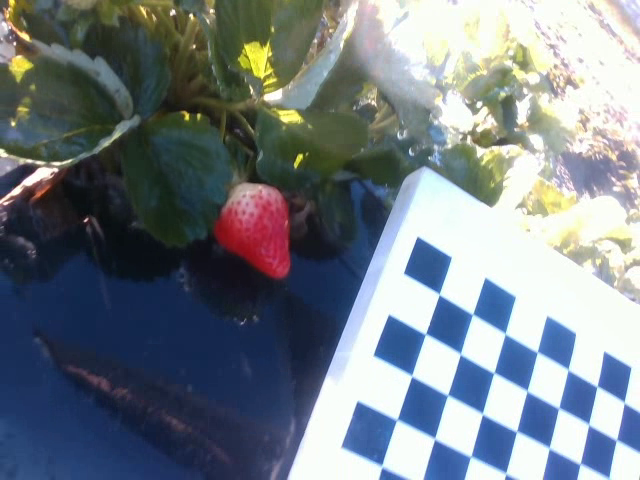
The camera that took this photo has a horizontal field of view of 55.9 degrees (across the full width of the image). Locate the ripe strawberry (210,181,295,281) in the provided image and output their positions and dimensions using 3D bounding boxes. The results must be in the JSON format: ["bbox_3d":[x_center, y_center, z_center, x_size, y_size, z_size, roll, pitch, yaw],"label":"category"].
[{"bbox_3d":[-0.035,-0.003,0.331,0.040,0.065,0.040,-21,-4,-30],"label":"ripe strawberry"}]
